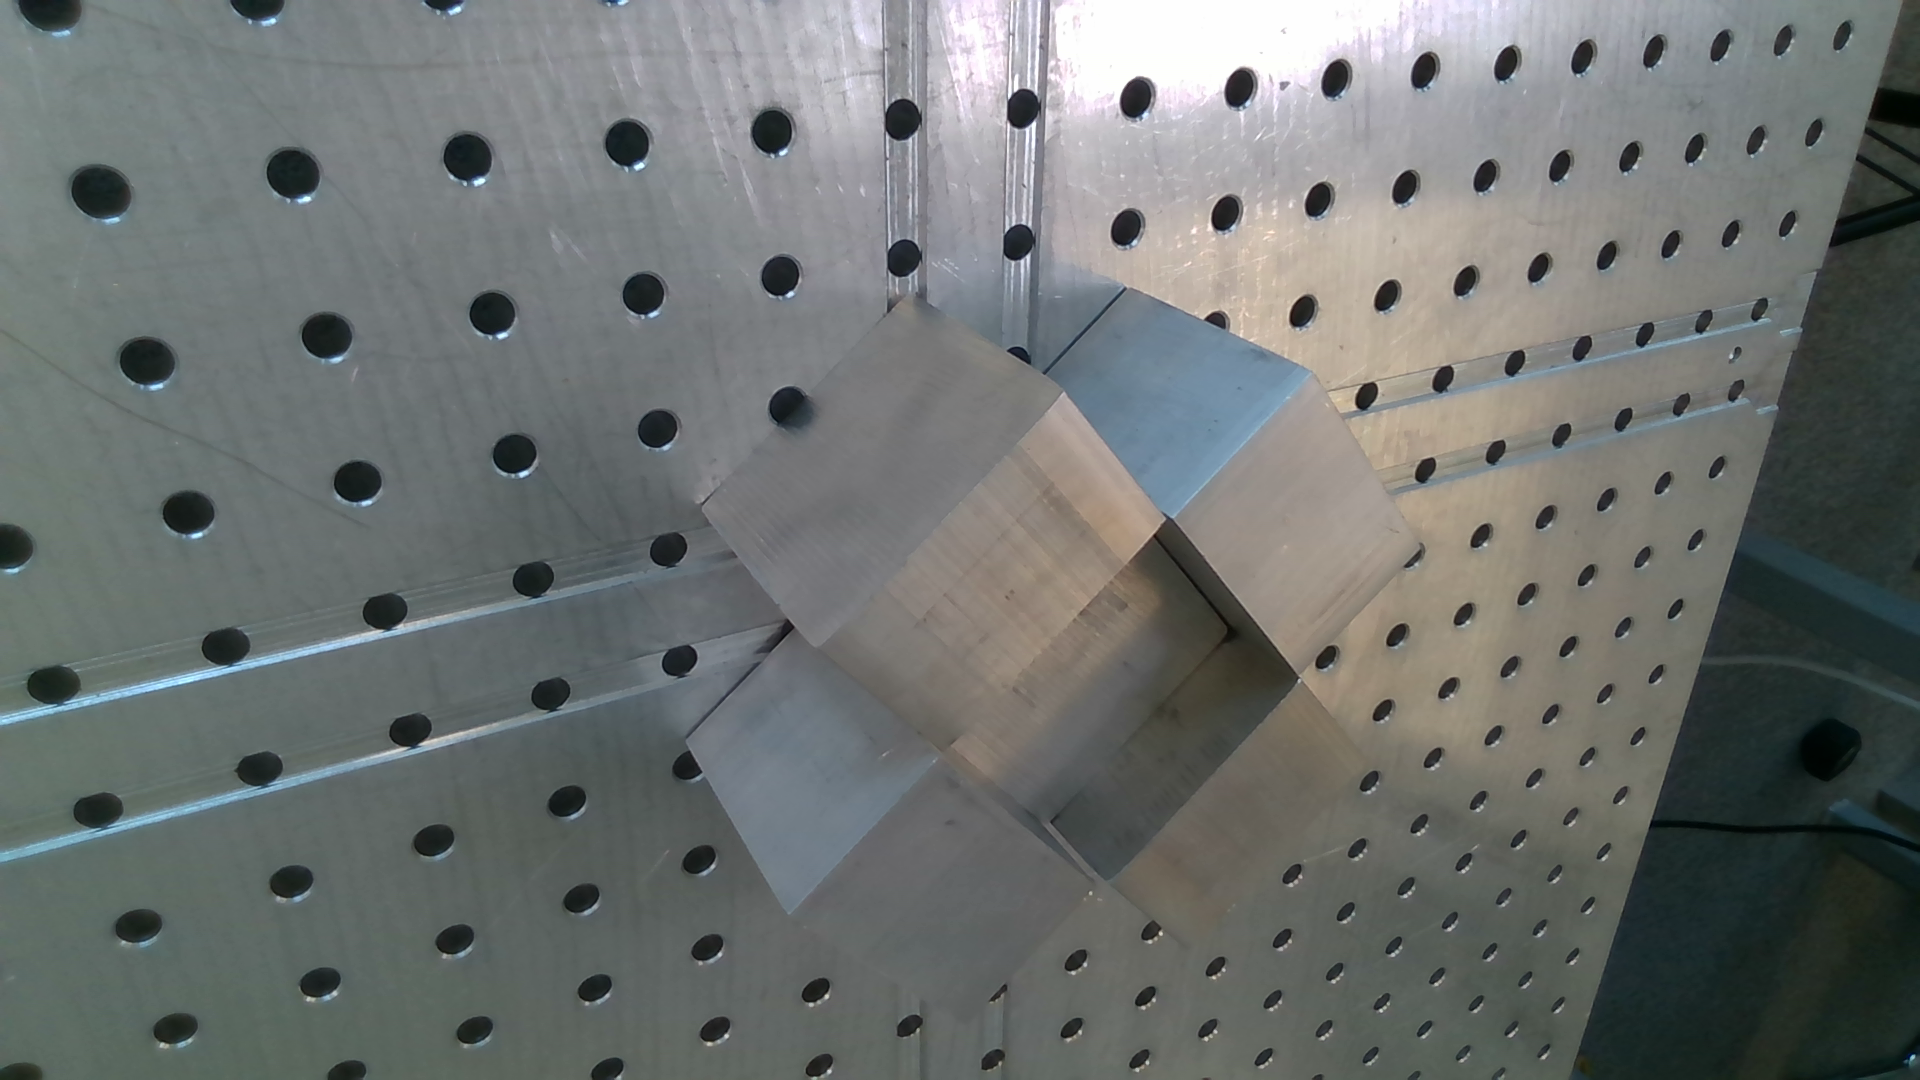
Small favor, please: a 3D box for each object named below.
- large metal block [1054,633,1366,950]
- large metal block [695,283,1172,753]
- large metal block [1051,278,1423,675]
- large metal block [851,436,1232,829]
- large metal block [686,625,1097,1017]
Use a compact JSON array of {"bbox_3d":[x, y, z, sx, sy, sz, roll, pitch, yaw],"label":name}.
[{"bbox_3d":[0.063,0.064,0.430,0.080,0.080,0.050,-46,130,-2],"label":"large metal block"},{"bbox_3d":[-0.009,-0.008,0.346,0.080,0.080,0.050,-46,129,-2],"label":"large metal block"},{"bbox_3d":[0.072,-0.019,0.391,0.050,0.080,0.080,-47,129,-2],"label":"large metal block"},{"bbox_3d":[0.020,0.023,0.399,0.080,0.050,0.080,-47,127,-3],"label":"large metal block"},{"bbox_3d":[-0.020,0.074,0.386,0.050,0.080,0.080,-45,129,-3],"label":"large metal block"}]
